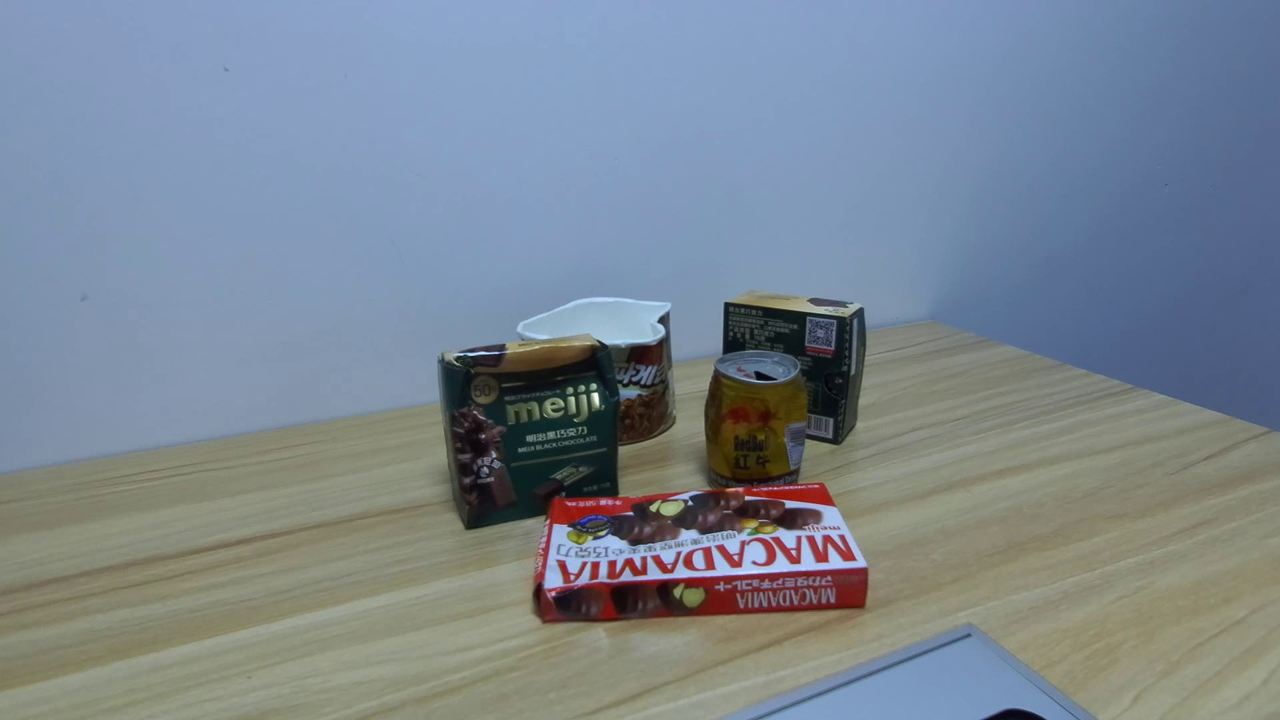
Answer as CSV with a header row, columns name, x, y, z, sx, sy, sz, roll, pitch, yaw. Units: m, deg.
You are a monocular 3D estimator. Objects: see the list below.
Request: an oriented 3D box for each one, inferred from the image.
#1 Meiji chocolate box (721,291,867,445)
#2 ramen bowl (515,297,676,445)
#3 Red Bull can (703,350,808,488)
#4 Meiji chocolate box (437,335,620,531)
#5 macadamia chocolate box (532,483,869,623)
name,x,y,z,sx,sy,sz,roll,pitch,yaw
Meiji chocolate box,0.129,0.003,0.594,0.113,0.110,0.058,10,20,31
ramen bowl,-0.035,0.008,0.612,0.134,0.097,0.113,0,21,0
Red Bull can,0.081,0.045,0.500,0.072,0.092,0.072,-1,22,1
Meiji chocolate box,-0.074,0.045,0.493,0.117,0.117,0.051,-7,13,-16
macadamia chocolate box,0.032,0.111,0.421,0.183,0.028,0.105,-3,18,-1
